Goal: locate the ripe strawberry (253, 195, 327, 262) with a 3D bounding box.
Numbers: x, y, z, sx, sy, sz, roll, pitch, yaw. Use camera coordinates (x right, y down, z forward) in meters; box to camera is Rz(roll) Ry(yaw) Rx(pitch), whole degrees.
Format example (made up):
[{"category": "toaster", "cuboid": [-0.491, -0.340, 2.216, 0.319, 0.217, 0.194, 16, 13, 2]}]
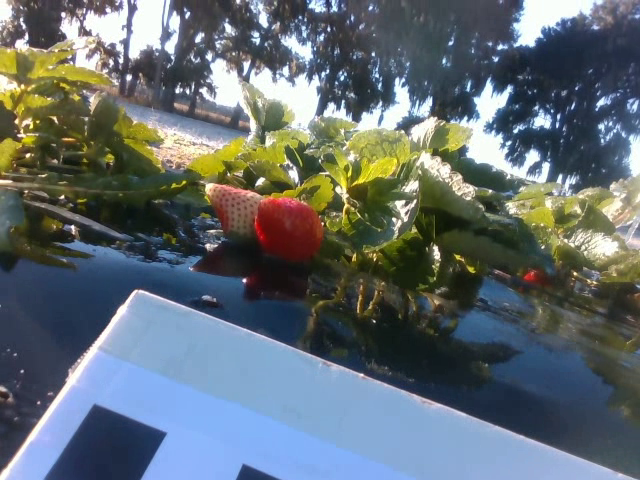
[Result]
[{"category": "ripe strawberry", "cuboid": [-0.018, -0.013, 0.304, 0.040, 0.038, 0.056, -12, -41, 14]}]
